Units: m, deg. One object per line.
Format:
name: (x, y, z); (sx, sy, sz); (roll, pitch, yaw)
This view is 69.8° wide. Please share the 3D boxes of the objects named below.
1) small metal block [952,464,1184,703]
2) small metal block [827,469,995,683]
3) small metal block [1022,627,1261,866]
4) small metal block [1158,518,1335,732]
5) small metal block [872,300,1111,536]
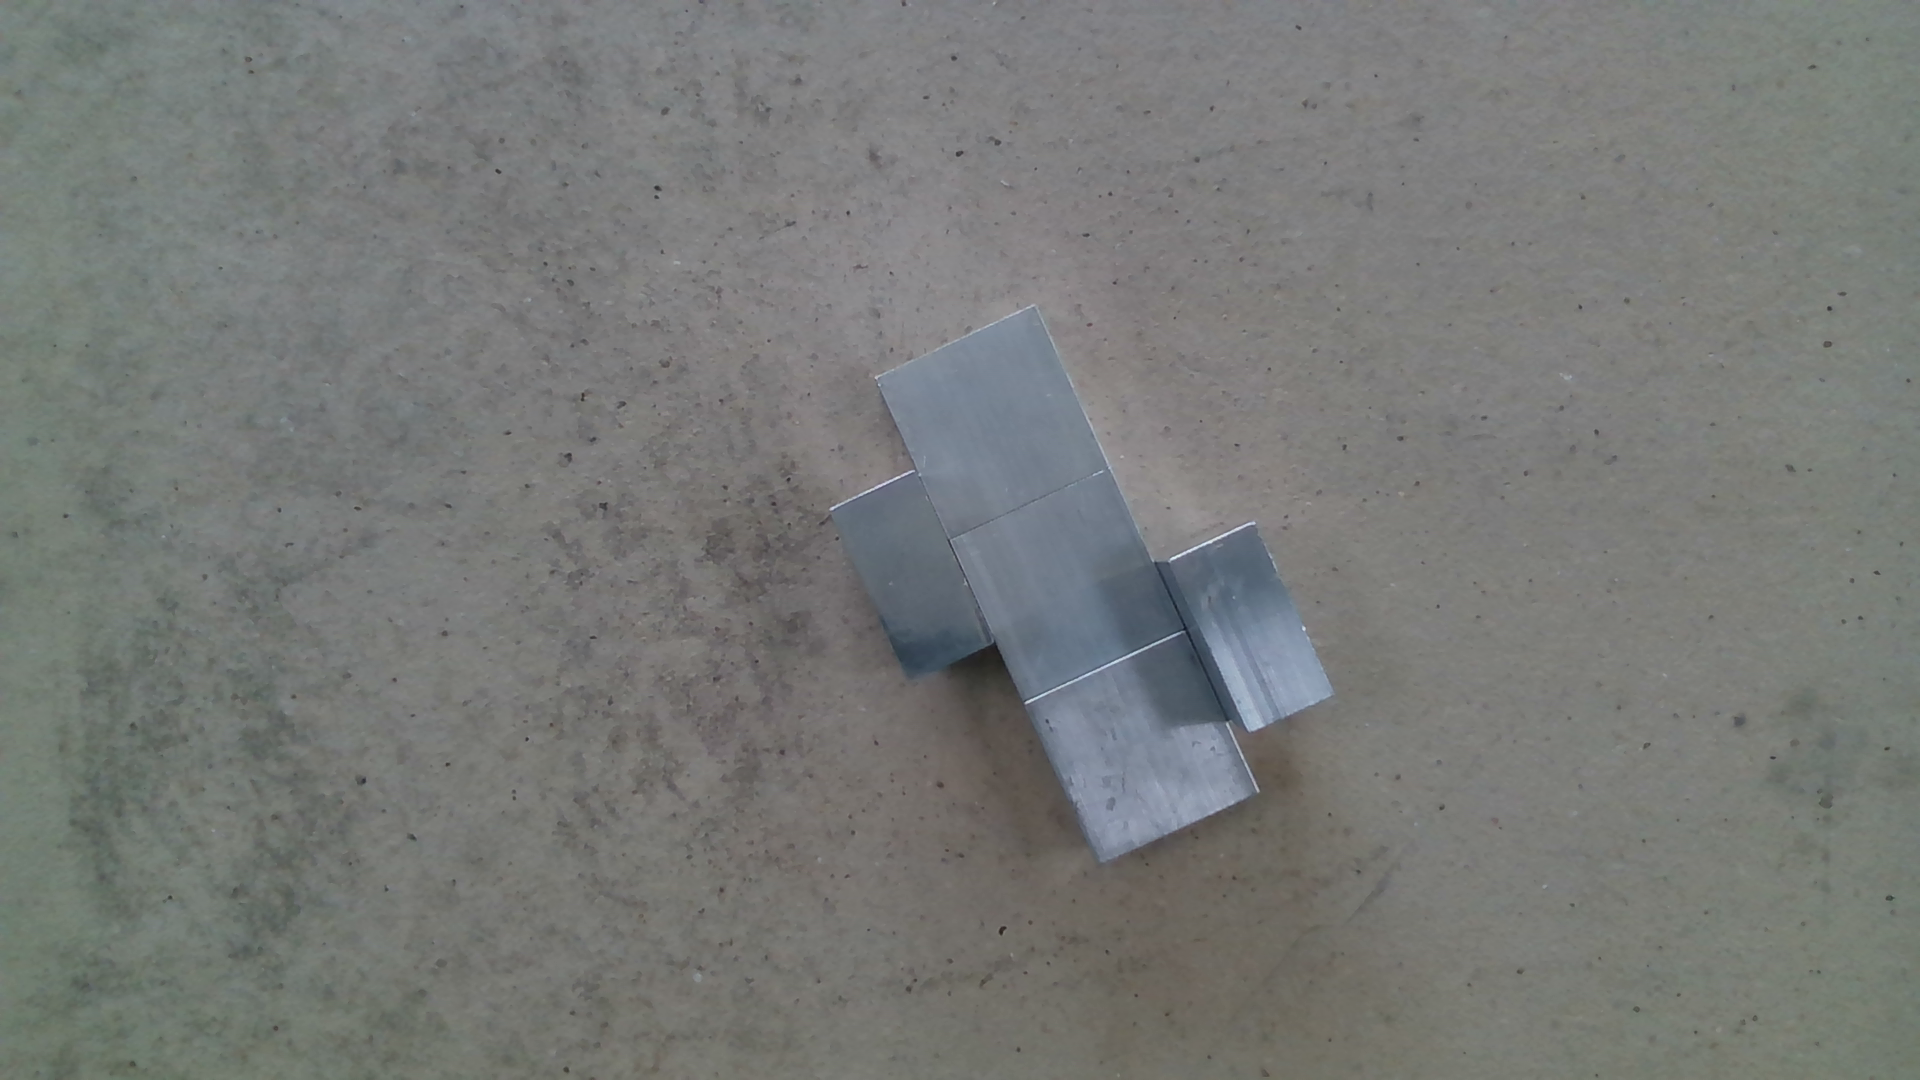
small metal block: (0.030, 0.012, 0.395); (0.050, 0.025, 0.050); (-25, 90, 0)
small metal block: (-0.013, 0.010, 0.383); (0.025, 0.050, 0.050); (-25, 90, -1)
small metal block: (0.051, 0.058, 0.395); (0.050, 0.025, 0.050); (-25, 90, 0)
small metal block: (0.076, 0.023, 0.383); (0.025, 0.050, 0.050); (-24, 89, 0)
small metal block: (0.009, -0.034, 0.395); (0.050, 0.025, 0.050); (-25, 90, 0)
